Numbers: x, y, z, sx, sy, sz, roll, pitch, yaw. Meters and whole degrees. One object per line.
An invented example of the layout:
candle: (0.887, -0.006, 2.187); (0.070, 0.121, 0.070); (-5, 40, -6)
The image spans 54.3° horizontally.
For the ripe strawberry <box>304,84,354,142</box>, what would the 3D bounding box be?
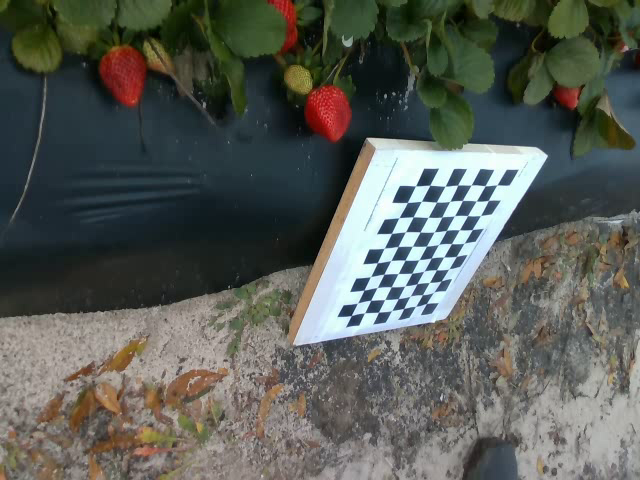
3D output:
ripe strawberry: (0.010, -0.118, 0.602); (0.057, 0.065, 0.056); (-19, -38, 6)

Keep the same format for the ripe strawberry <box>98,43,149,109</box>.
ripe strawberry: (-0.153, -0.127, 0.488); (0.043, 0.052, 0.041); (-16, 1, -18)
